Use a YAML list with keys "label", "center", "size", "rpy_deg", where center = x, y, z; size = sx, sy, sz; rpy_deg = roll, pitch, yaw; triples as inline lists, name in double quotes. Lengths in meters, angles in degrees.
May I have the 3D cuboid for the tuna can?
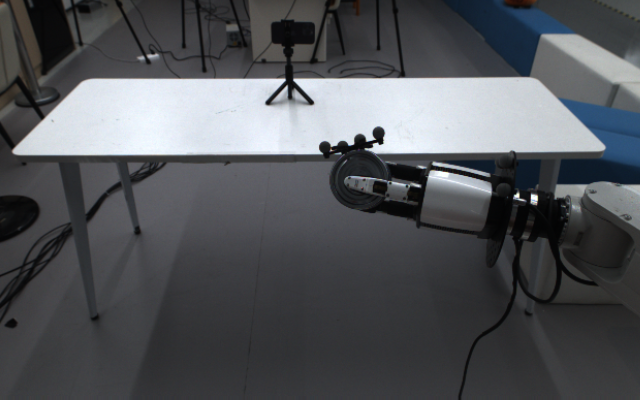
- label: "tuna can"
  center: [0.062, -0.023, 0.684]
  size: [0.085, 0.085, 0.034]
  rpy_deg: [12, 3, 14]
